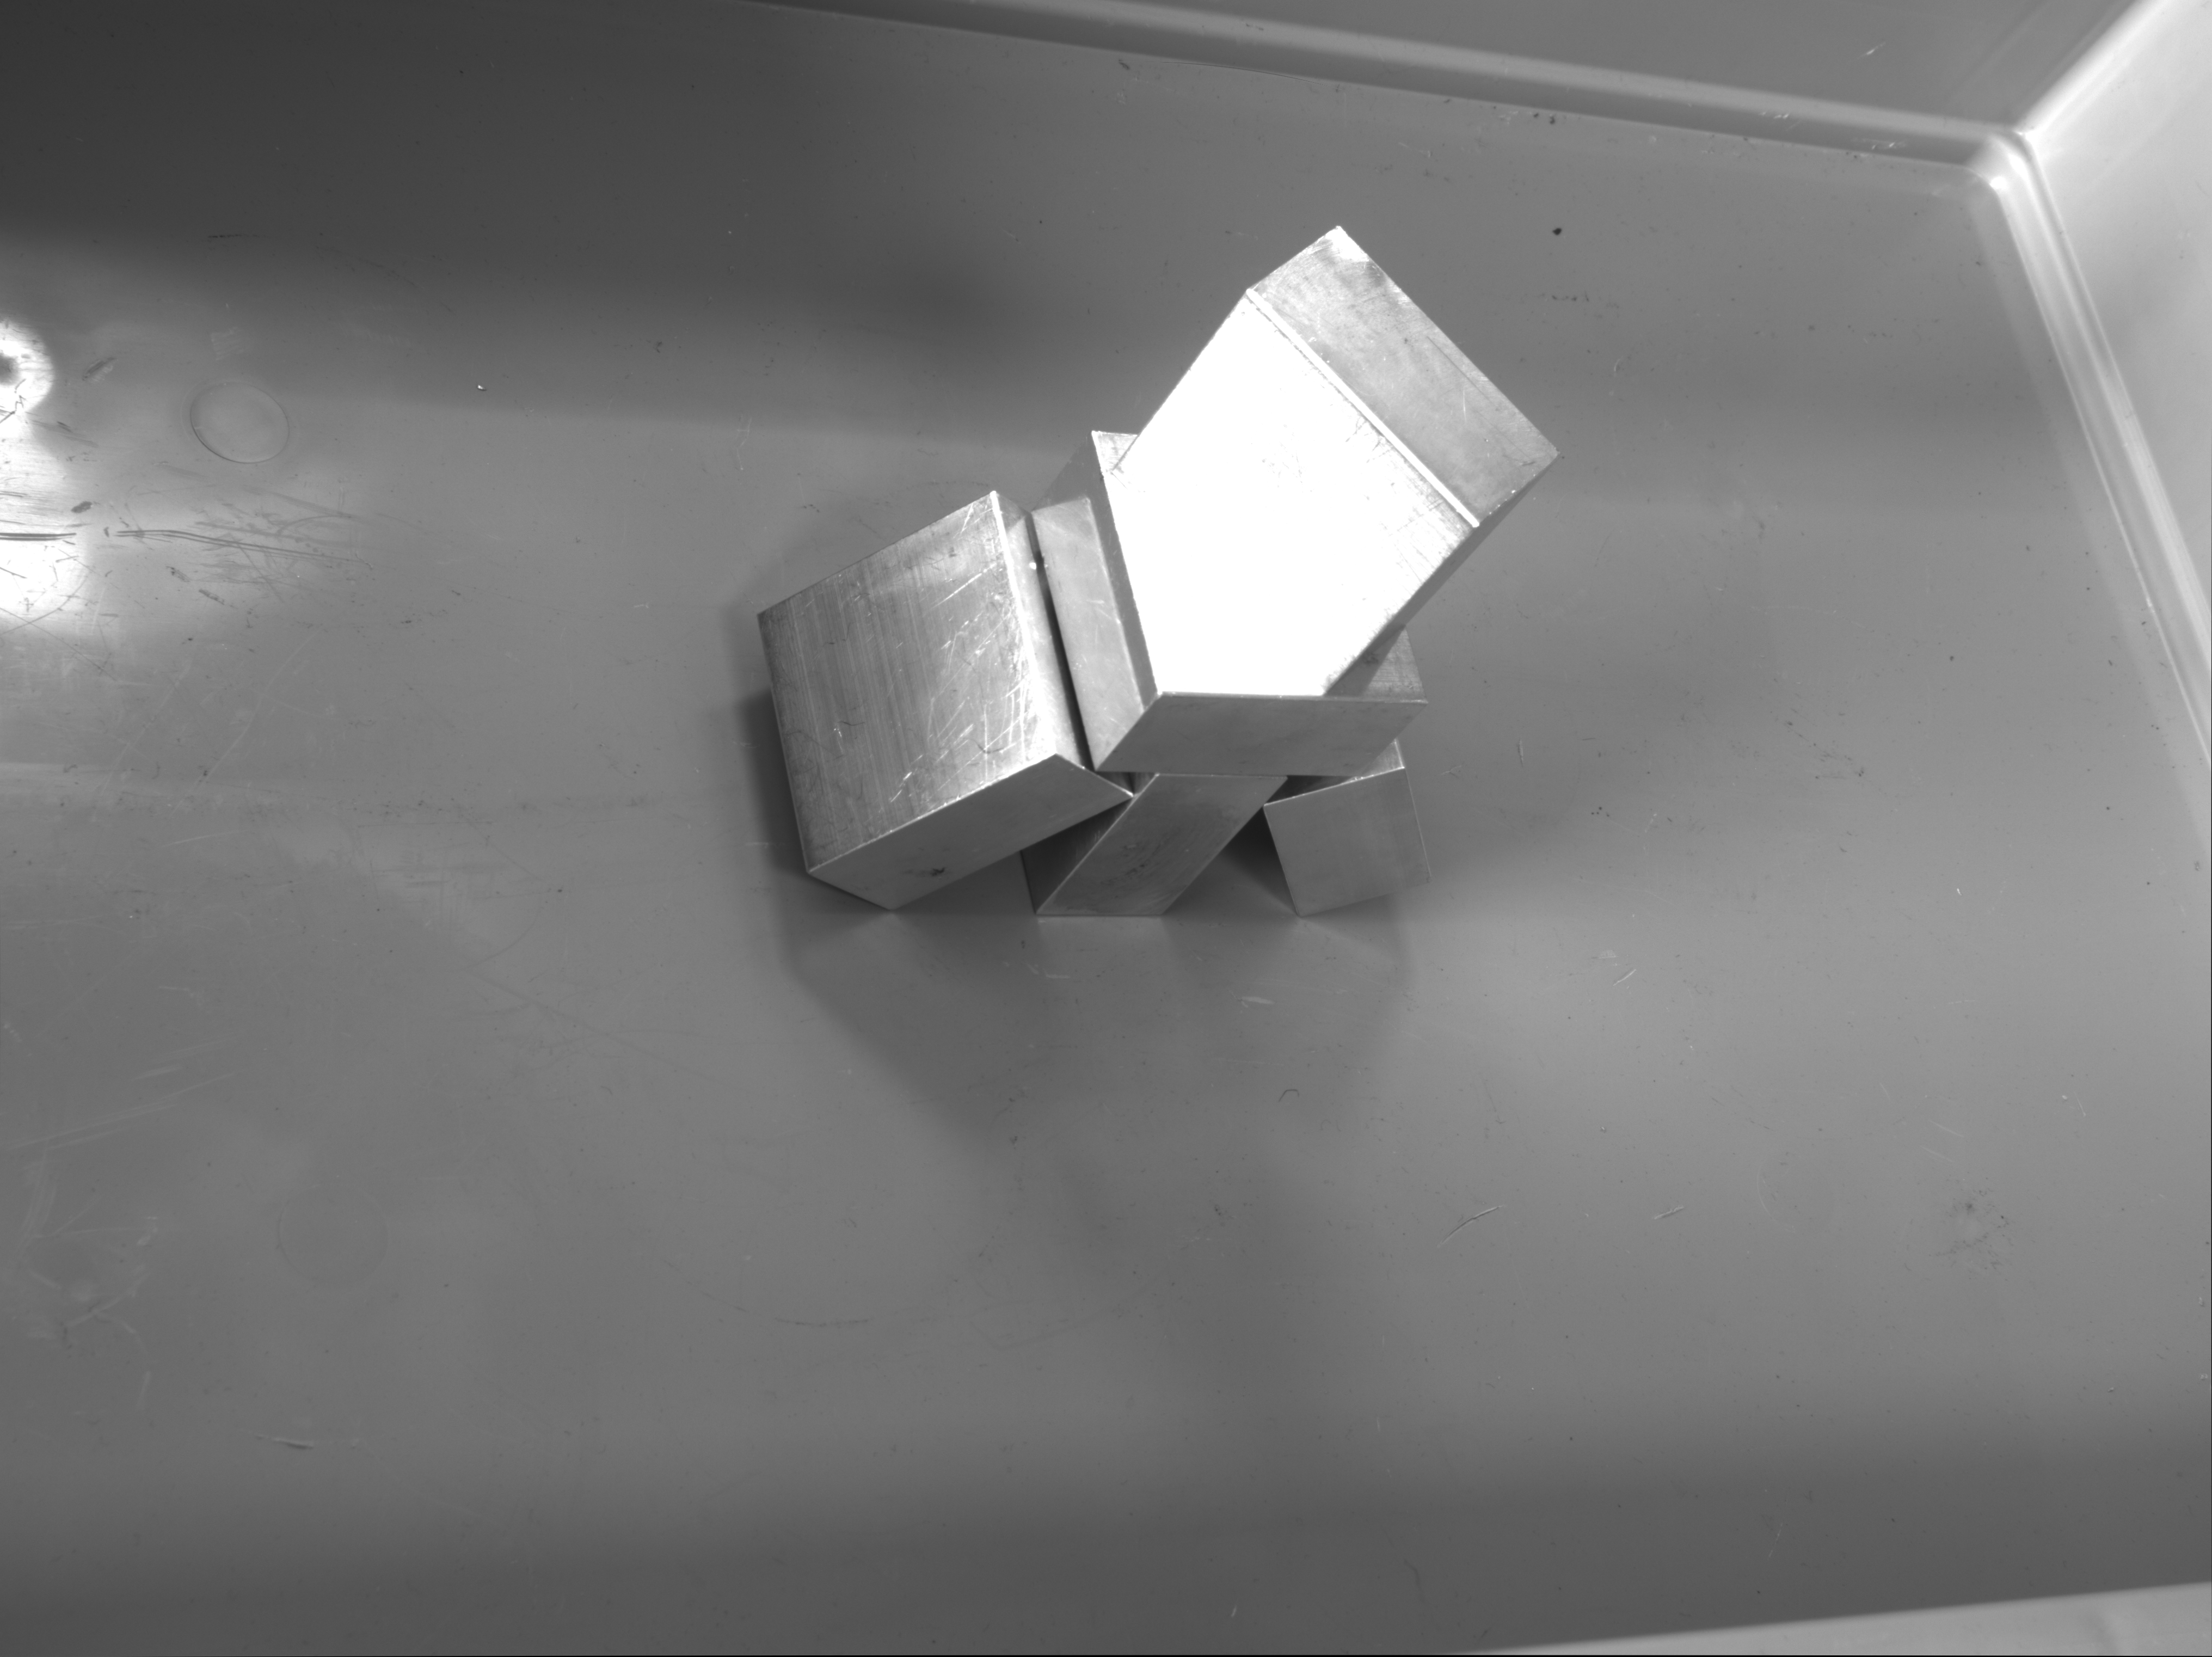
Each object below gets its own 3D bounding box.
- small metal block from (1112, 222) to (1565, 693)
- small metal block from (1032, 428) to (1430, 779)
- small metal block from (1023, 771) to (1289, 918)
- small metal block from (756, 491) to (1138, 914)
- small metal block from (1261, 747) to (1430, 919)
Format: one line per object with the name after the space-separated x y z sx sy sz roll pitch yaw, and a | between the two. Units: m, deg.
0.036 -0.058 0.578 0.050 0.050 0.025 46 52 5 | small metal block
0.020 -0.037 0.605 0.050 0.025 0.050 1 61 -28 | small metal block
0.004 -0.018 0.634 0.025 0.050 0.050 1 61 -28 | small metal block
-0.027 -0.021 0.615 0.025 0.050 0.050 28 42 -55 | small metal block
0.037 -0.019 0.649 0.025 0.050 0.050 -15 65 3 | small metal block
